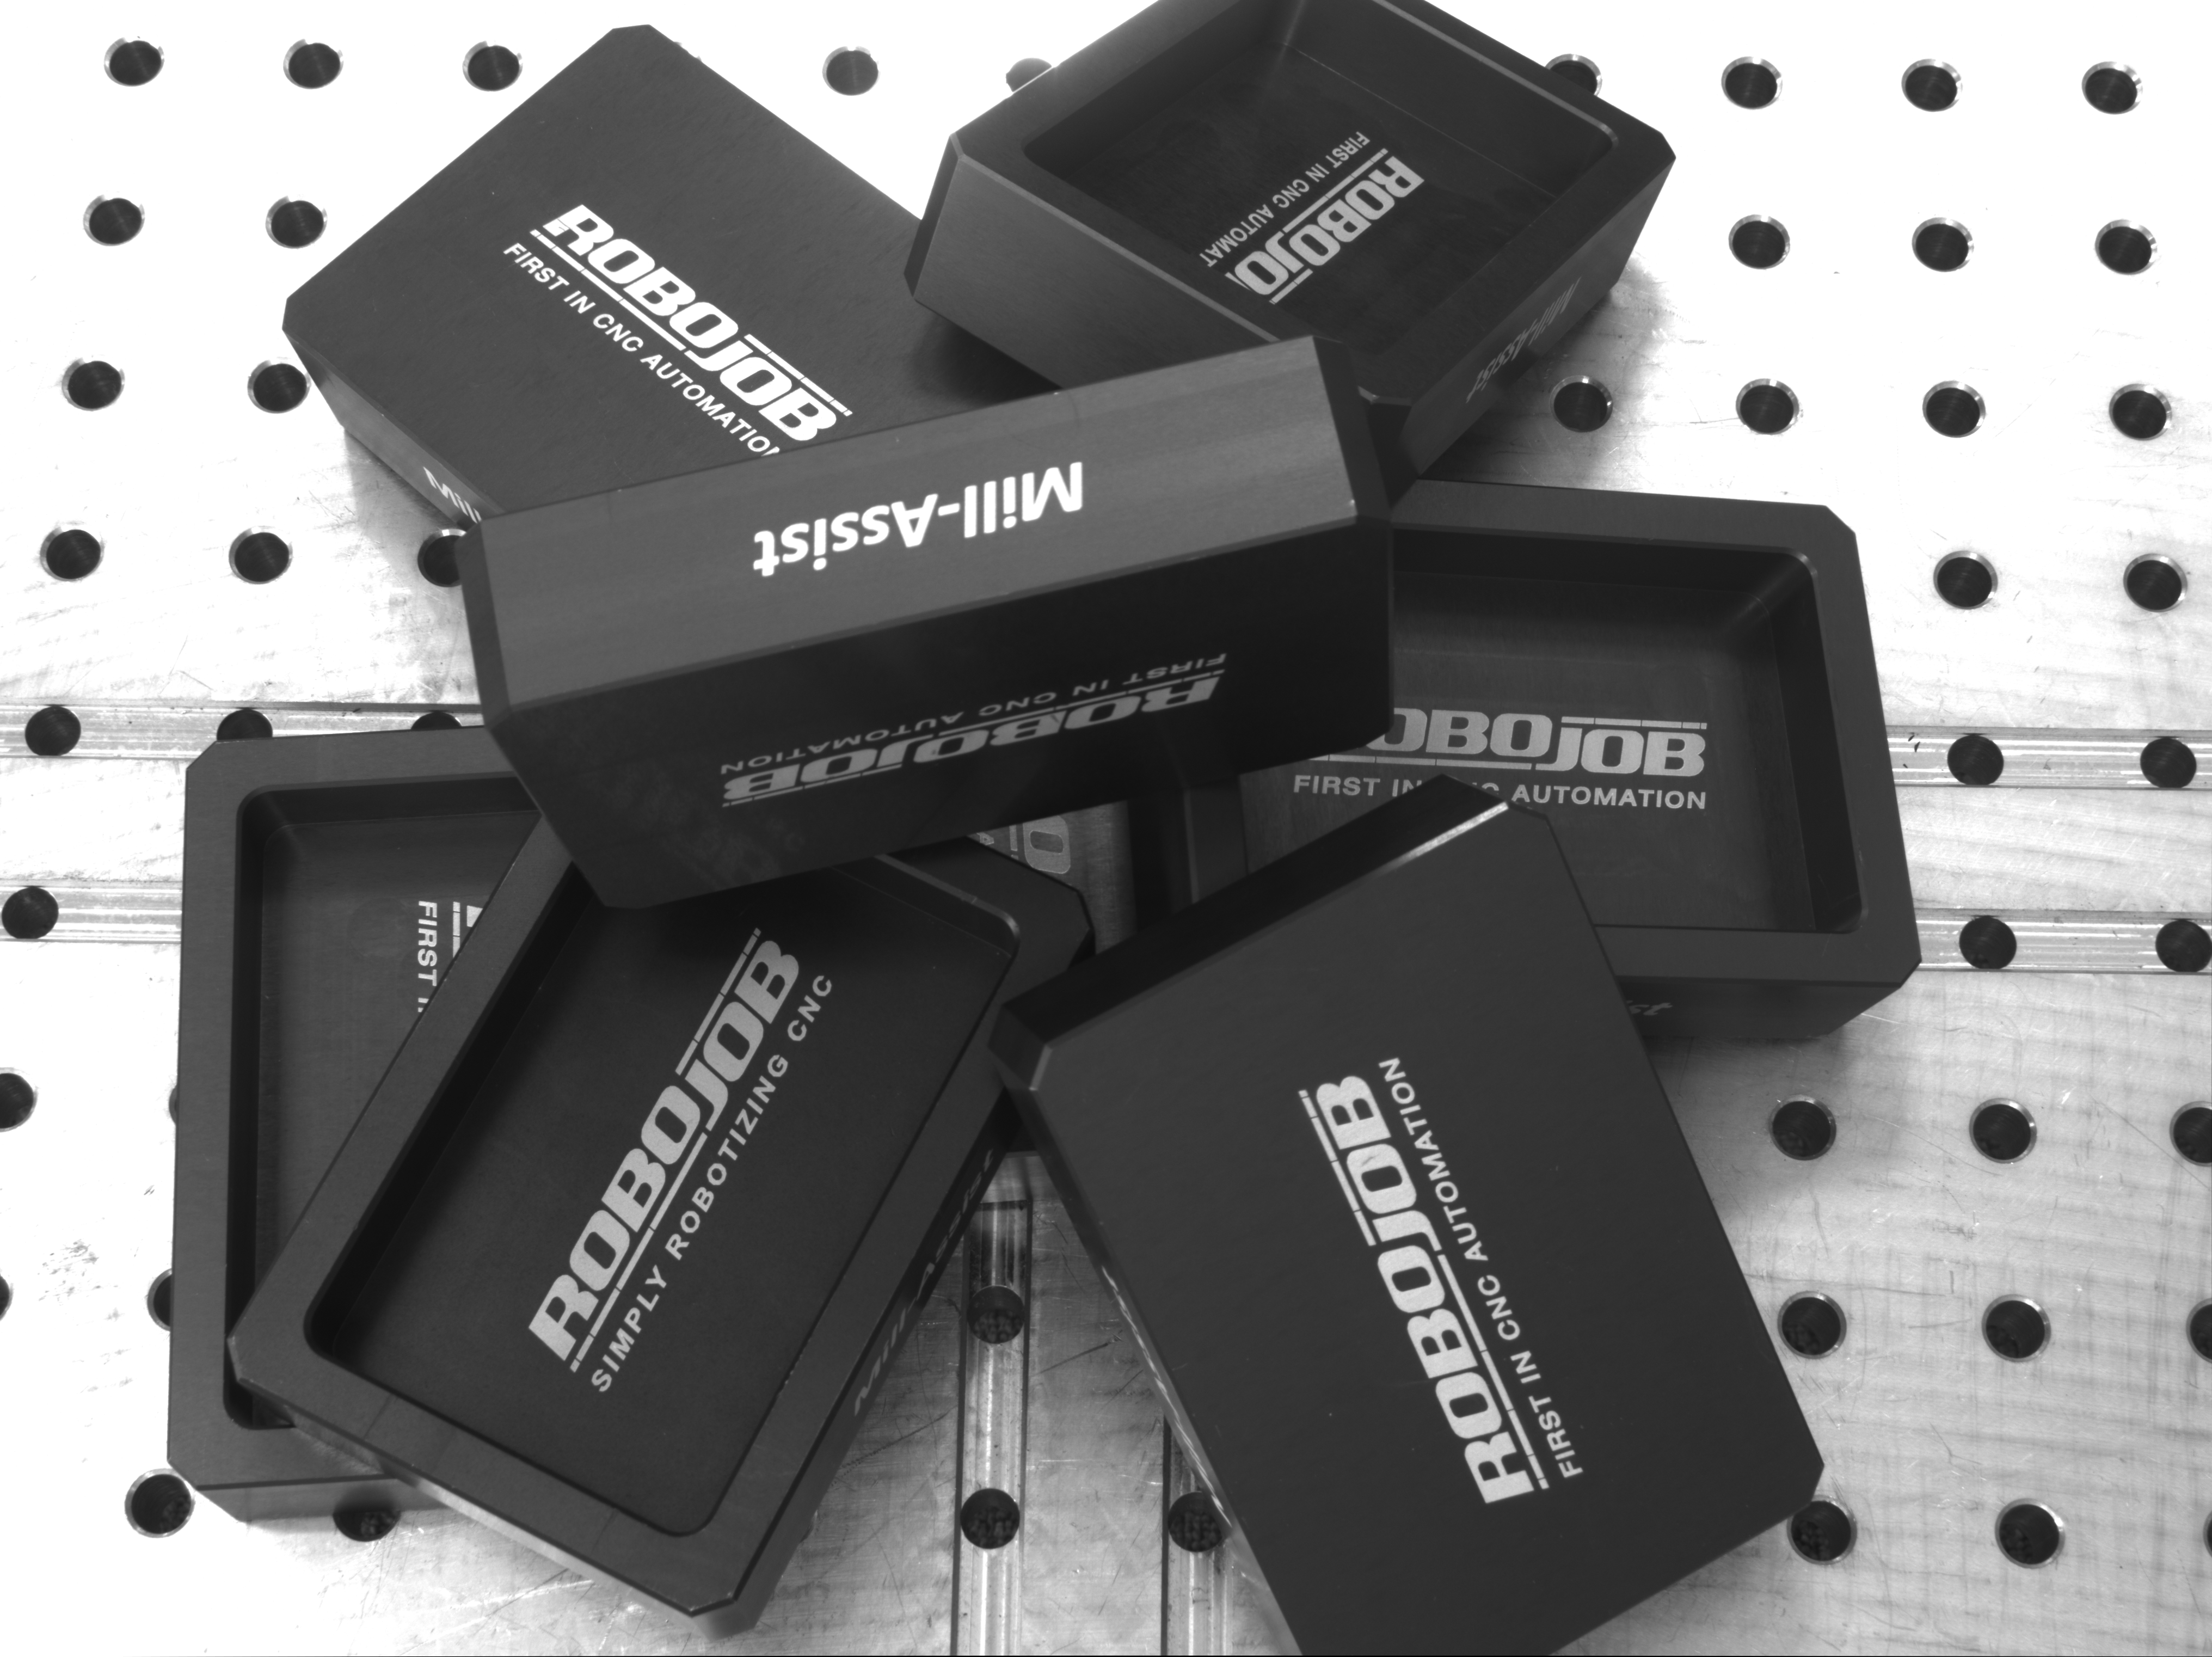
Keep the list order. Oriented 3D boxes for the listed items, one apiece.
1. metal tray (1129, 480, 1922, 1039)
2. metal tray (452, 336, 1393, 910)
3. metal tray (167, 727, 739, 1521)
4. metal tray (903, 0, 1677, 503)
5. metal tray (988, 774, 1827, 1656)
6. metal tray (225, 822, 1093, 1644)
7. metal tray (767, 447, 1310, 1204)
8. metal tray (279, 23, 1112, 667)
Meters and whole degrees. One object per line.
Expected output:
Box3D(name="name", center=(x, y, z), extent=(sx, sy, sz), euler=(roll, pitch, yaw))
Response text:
Box3D(name="metal tray", center=(0.070, -0.012, 0.630), extent=(0.130, 0.030, 0.090), euler=(2, 69, -18))
Box3D(name="metal tray", center=(-0.023, -0.028, 0.555), extent=(0.130, 0.090, 0.030), euler=(-13, 70, 0))
Box3D(name="metal tray", center=(-0.111, 0.048, 0.628), extent=(0.090, 0.030, 0.130), euler=(-4, 69, -2))
Box3D(name="metal tray", center=(0.035, -0.108, 0.649), extent=(0.090, 0.030, 0.130), euler=(32, 40, 12))
Box3D(name="metal tray", center=(0.049, 0.069, 0.585), extent=(0.090, 0.030, 0.130), euler=(-28, 105, -9))
Box3D(name="metal tray", center=(-0.069, 0.053, 0.593), extent=(0.090, 0.030, 0.130), euler=(25, 72, 9))
Box3D(name="metal tray", center=(-0.015, -0.002, 0.646), extent=(0.090, 0.030, 0.130), euler=(-3, 68, -3))
Box3D(name="metal tray", center=(-0.074, -0.080, 0.657), extent=(0.090, 0.030, 0.130), euler=(-43, 60, -14))
